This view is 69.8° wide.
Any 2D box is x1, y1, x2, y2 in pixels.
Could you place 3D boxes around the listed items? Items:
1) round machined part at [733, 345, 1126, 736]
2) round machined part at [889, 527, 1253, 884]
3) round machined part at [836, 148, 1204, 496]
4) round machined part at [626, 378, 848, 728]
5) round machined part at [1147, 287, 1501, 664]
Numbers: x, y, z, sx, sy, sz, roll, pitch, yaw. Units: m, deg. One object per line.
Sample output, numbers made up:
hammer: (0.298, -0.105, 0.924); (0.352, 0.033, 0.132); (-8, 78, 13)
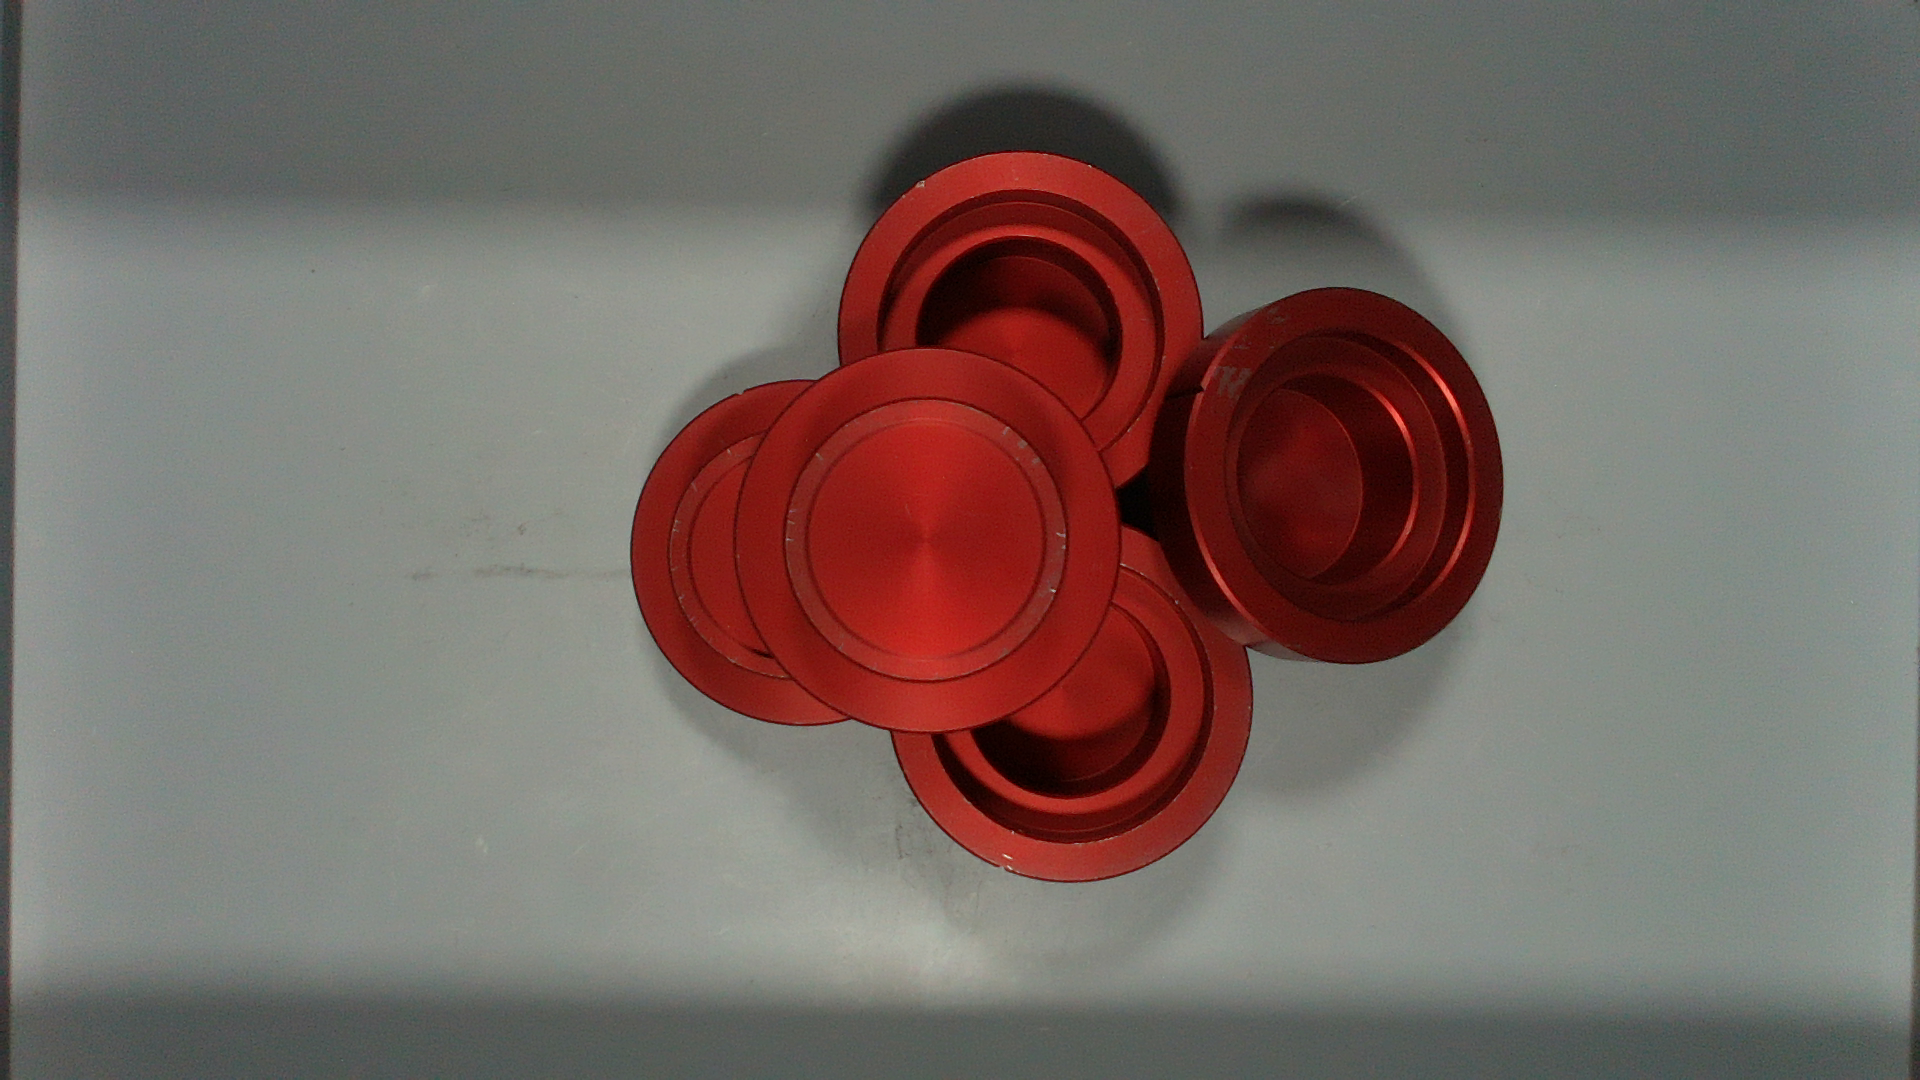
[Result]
round machined part: (-0.008, 0.000, 0.342); (0.098, 0.042, 0.098); (0, 90, 0)
round machined part: (0.029, 0.043, 0.386); (0.098, 0.042, 0.098); (0, 90, 0)
round machined part: (0.016, -0.055, 0.386); (0.098, 0.042, 0.098); (0, 90, 0)
round machined part: (-0.044, 0.004, 0.384); (0.098, 0.042, 0.098); (0, 90, 0)
round machined part: (0.094, -0.016, 0.375); (0.098, 0.042, 0.098); (1, 87, -20)
